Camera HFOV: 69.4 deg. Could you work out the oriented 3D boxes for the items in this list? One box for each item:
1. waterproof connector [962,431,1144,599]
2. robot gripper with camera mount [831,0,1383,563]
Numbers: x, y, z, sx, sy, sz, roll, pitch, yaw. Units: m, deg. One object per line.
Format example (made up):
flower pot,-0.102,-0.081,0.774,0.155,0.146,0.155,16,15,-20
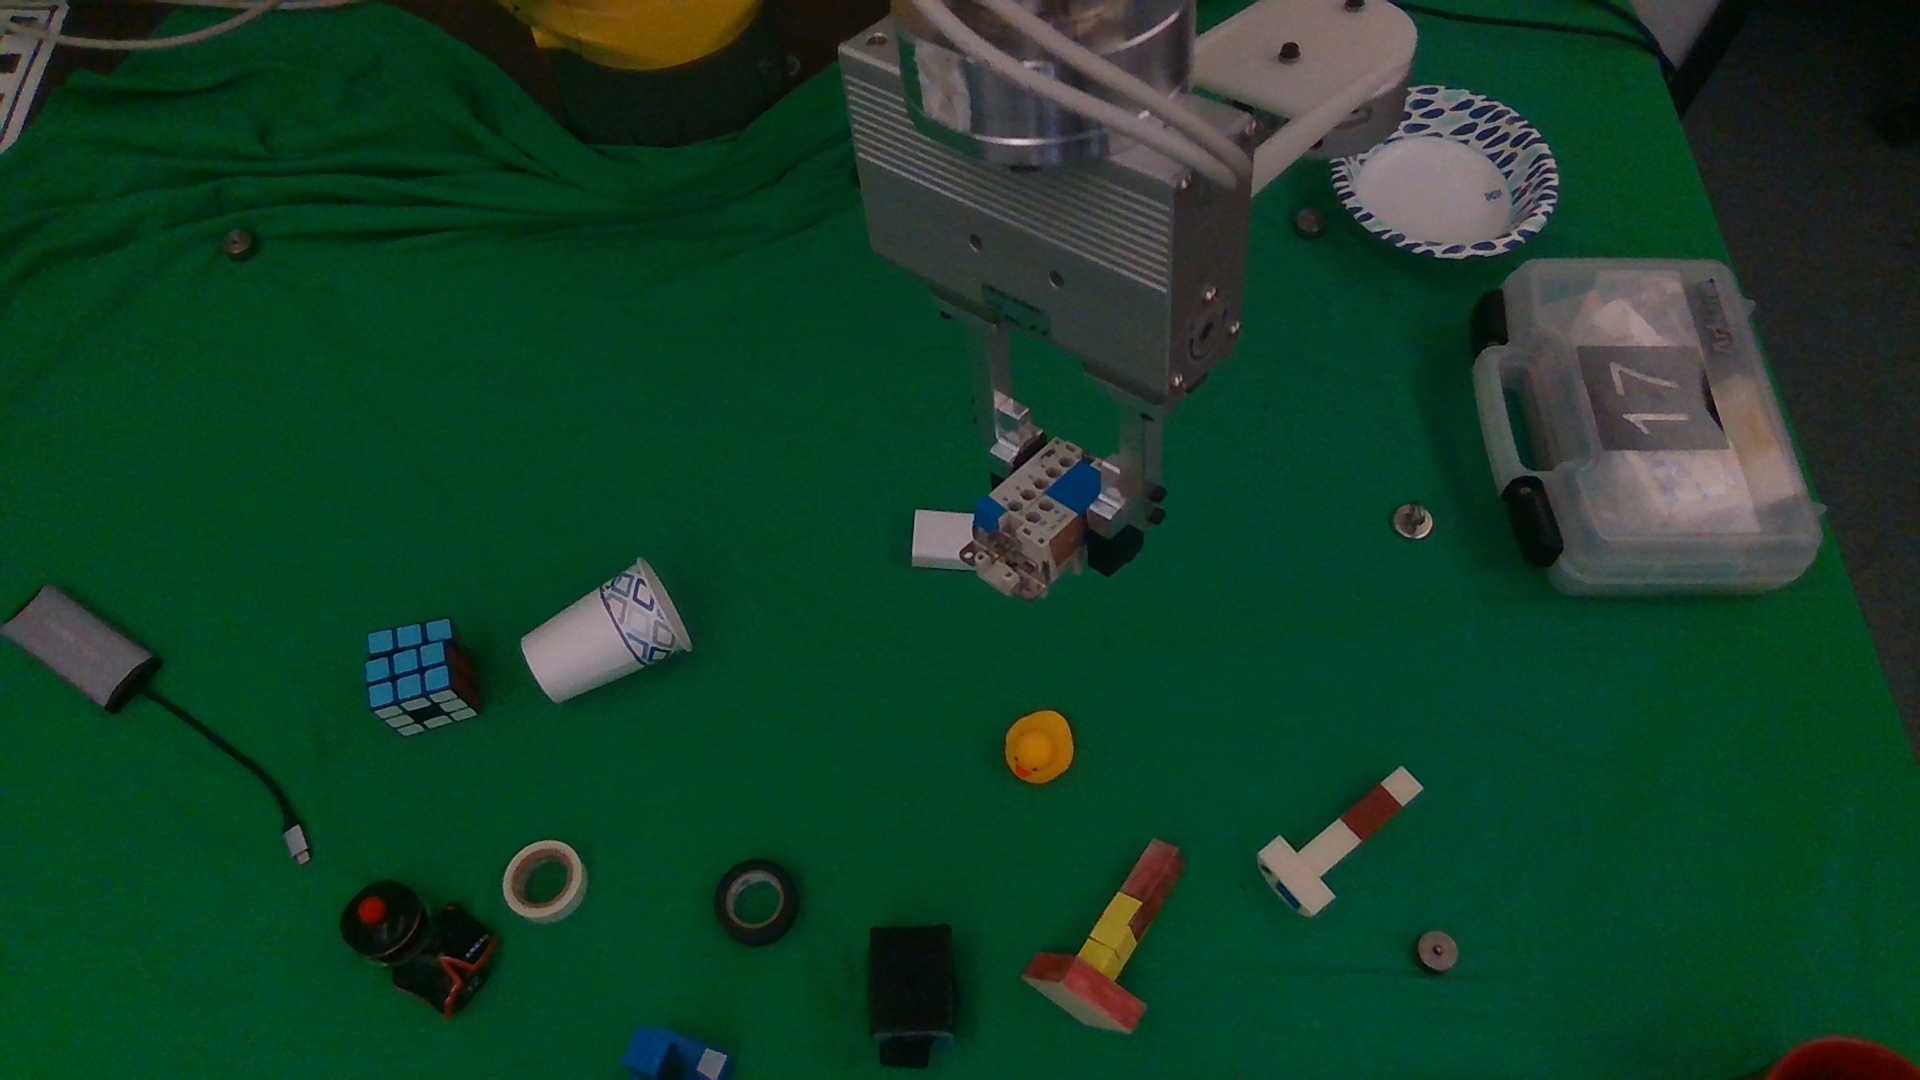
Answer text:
waterproof connector,0.033,-0.007,0.487,0.035,0.037,0.065,33,60,28
robot gripper with camera mount,0.075,-0.109,0.478,0.119,0.158,0.193,25,55,30
